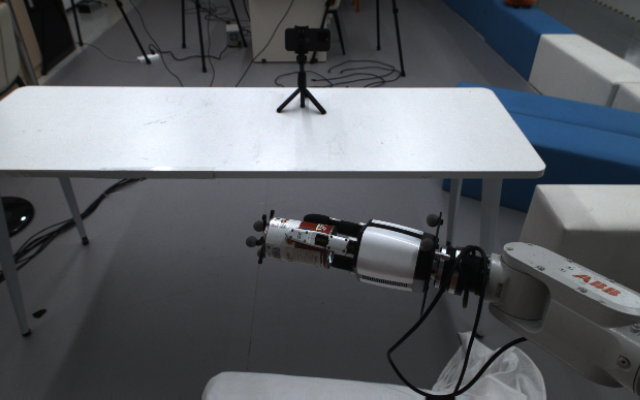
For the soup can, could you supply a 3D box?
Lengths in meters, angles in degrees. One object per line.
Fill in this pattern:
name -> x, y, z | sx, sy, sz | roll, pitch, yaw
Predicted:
soup can -> -0.028, 0.067, 0.749 | 0.101, 0.067, 0.067 | 8, 35, 11
